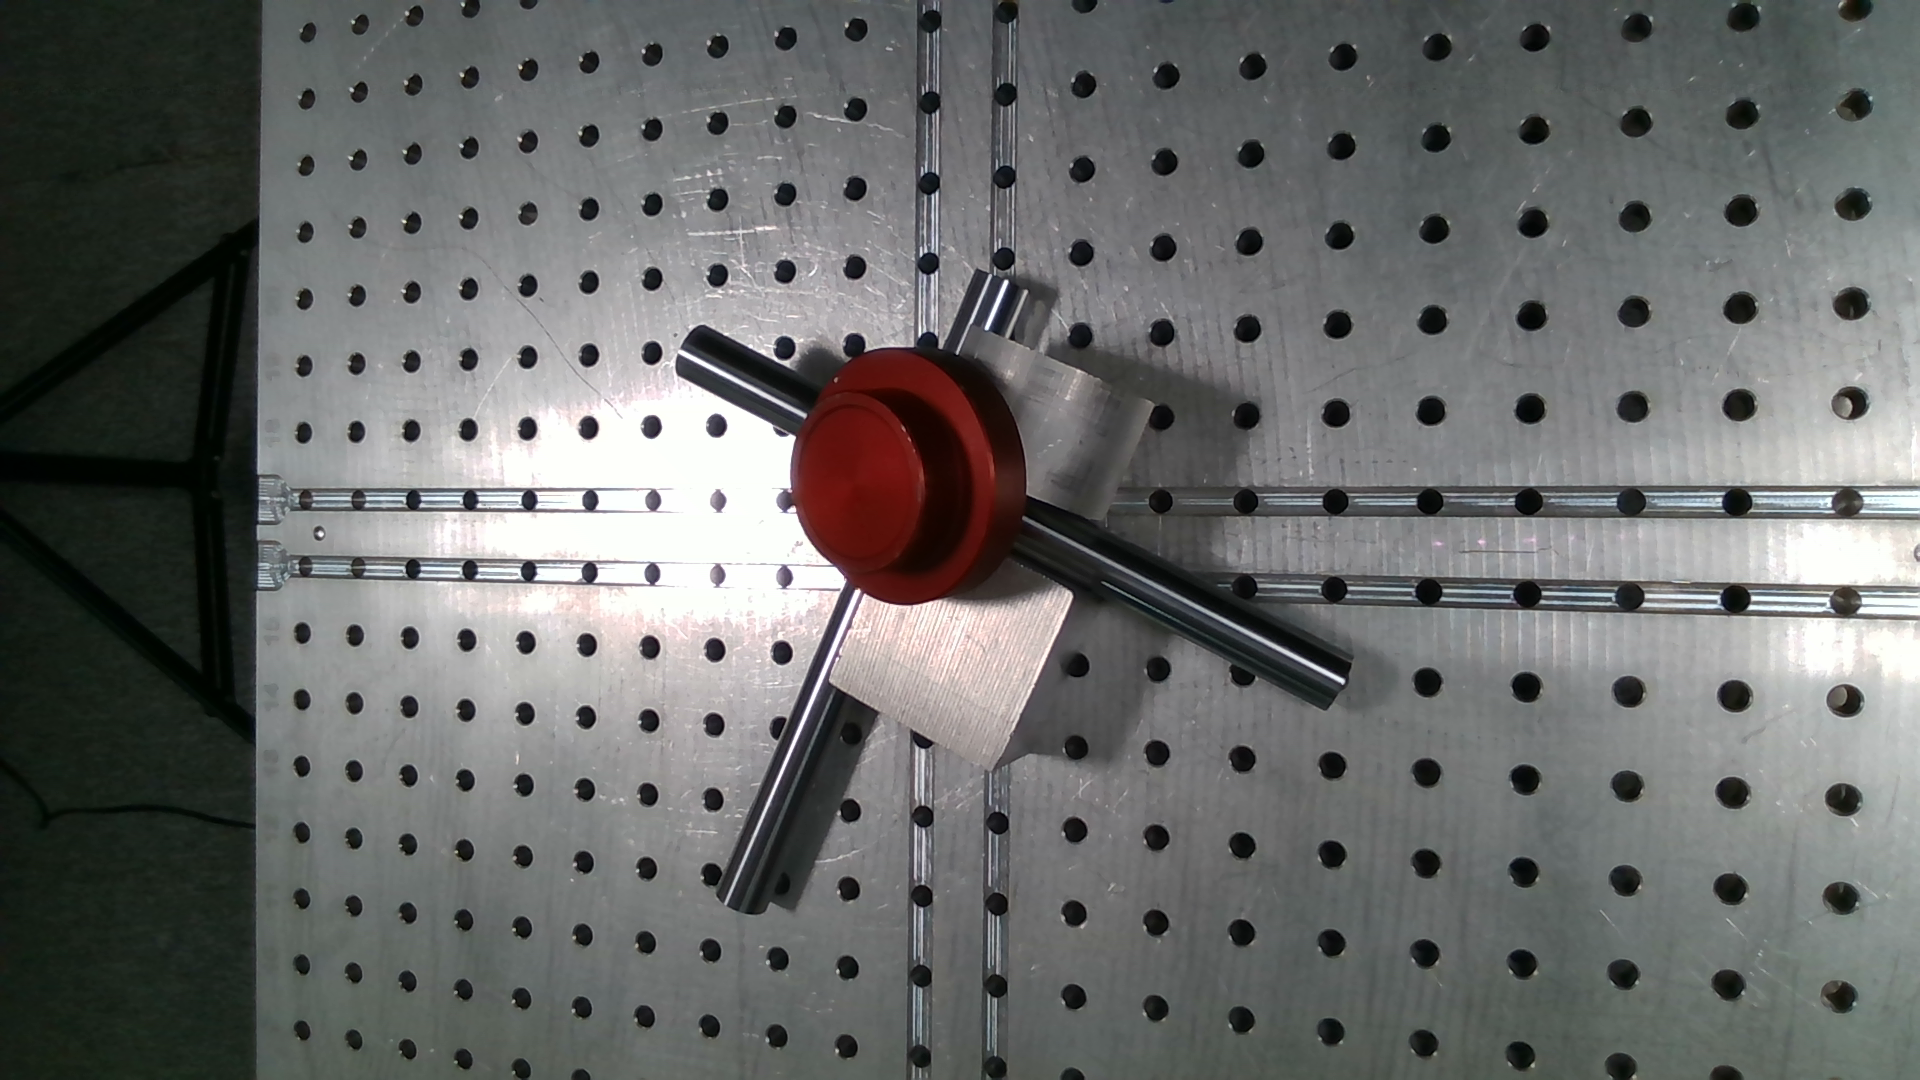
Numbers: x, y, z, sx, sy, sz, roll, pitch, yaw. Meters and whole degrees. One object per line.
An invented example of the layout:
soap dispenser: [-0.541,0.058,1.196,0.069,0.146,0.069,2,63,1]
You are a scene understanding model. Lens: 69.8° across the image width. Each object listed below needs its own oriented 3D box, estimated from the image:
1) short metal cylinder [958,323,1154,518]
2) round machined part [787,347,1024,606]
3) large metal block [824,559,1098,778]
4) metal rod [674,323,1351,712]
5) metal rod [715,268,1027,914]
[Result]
short metal cylinder: [0.030,-0.048,0.546,0.080,0.080,0.050,26,99,18]
round machined part: [-0.027,-0.023,0.519,0.098,0.042,0.098,7,102,39]
large metal block: [0.003,0.040,0.570,0.080,0.050,0.080,27,99,18]
metal rod: [0.015,-0.013,0.561,0.300,0.025,0.025,28,100,10]
metal rod: [-0.041,0.027,0.603,0.025,0.025,0.300,26,99,18]
